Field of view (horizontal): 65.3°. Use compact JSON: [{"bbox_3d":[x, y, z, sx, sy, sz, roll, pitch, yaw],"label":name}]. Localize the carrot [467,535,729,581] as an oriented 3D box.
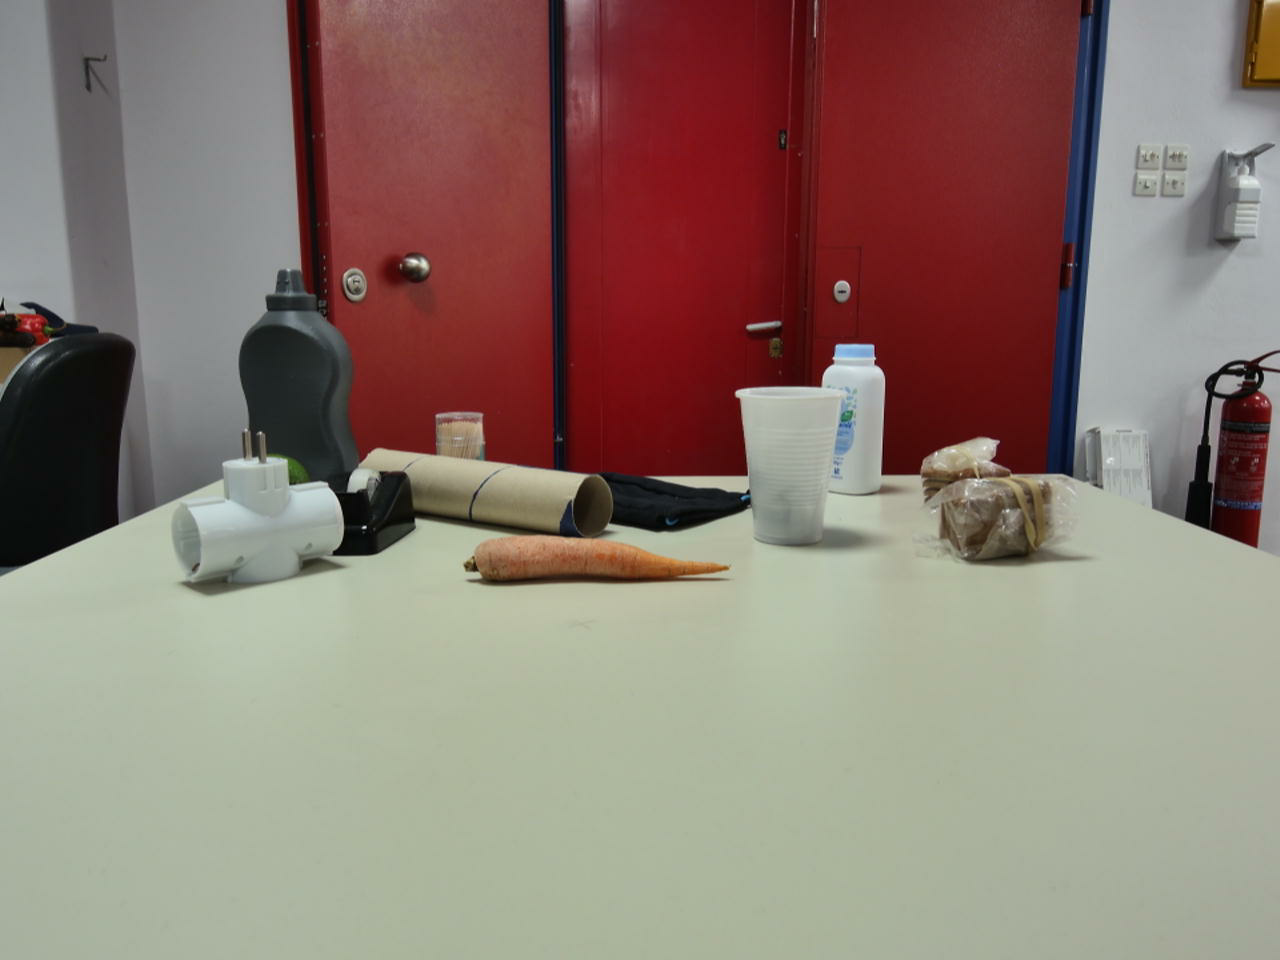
[{"bbox_3d":[-0.025,0.049,0.629,0.163,0.029,0.031,0,8,-1],"label":"carrot"}]
